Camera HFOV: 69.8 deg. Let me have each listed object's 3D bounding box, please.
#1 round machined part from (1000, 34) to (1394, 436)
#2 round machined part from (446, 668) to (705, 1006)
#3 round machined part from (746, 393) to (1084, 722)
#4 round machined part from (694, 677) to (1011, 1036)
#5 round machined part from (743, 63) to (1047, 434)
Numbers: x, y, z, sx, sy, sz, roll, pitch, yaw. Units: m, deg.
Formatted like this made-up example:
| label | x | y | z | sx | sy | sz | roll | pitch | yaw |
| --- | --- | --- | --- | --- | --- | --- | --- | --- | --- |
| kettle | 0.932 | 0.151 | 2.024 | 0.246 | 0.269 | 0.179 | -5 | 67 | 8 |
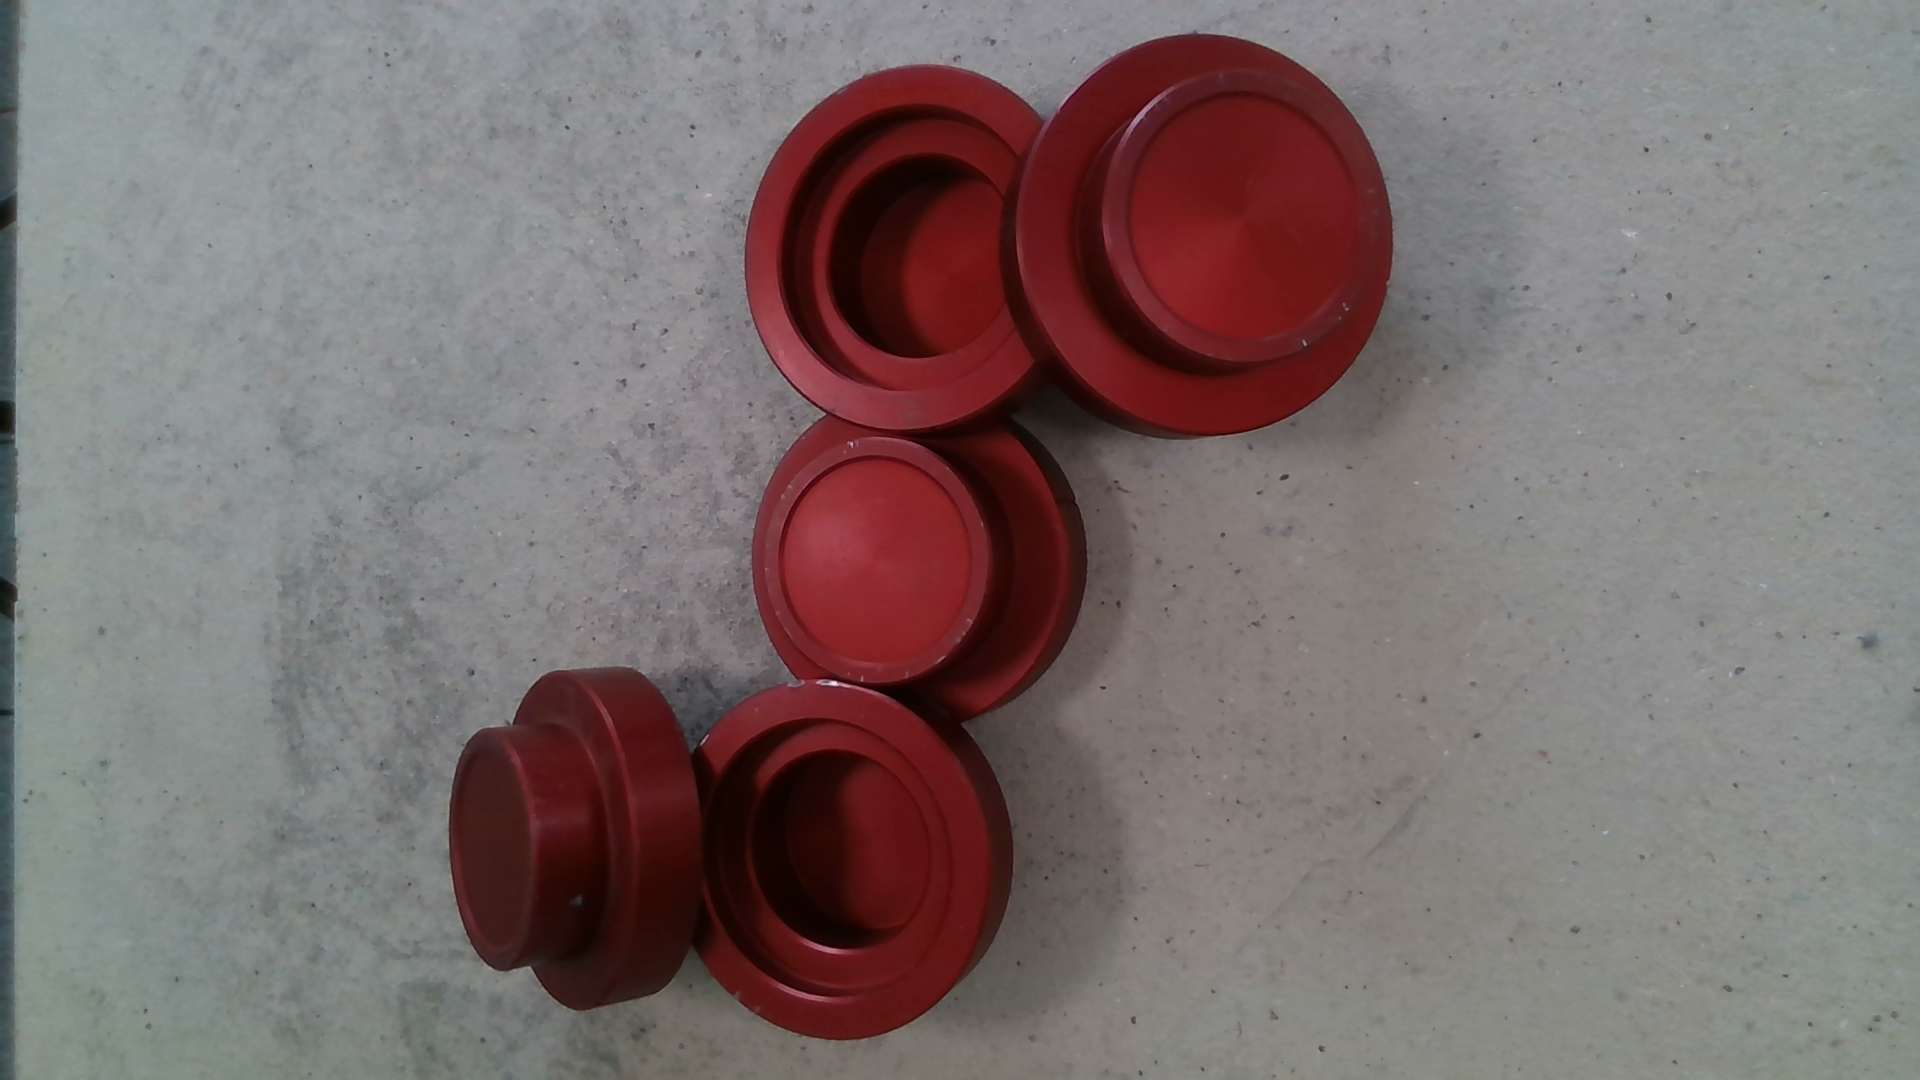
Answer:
| label | x | y | z | sx | sy | sz | roll | pitch | yaw |
| --- | --- | --- | --- | --- | --- | --- | --- | --- | --- |
| round machined part | 0.062 | -0.075 | 0.338 | 0.098 | 0.042 | 0.098 | 0 | 91 | -11 |
| round machined part | -0.118 | 0.087 | 0.405 | 0.098 | 0.042 | 0.098 | 0 | 90 | 49 |
| round machined part | -0.017 | 0.005 | 0.390 | 0.098 | 0.042 | 0.098 | 0 | 89 | 18 |
| round machined part | -0.031 | 0.087 | 0.397 | 0.098 | 0.042 | 0.098 | 0 | 89 | 20 |
| round machined part | -0.008 | -0.078 | 0.387 | 0.098 | 0.042 | 0.098 | 0 | 89 | 20 |
